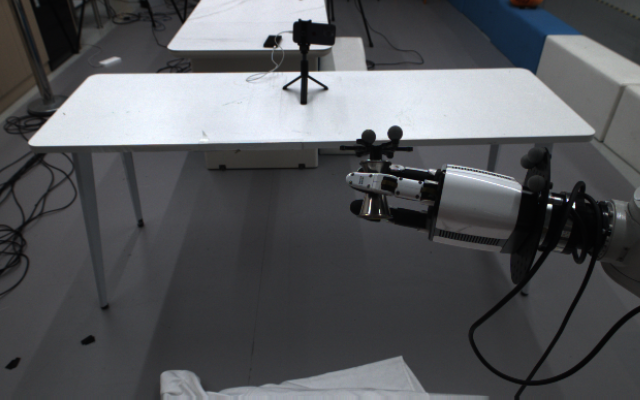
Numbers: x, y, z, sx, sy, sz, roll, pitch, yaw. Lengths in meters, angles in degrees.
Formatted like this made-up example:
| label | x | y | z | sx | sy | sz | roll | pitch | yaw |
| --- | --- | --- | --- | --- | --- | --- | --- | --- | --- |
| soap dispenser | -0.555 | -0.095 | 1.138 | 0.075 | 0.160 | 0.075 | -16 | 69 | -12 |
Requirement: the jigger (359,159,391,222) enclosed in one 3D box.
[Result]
| label | x | y | z | sx | sy | sz | roll | pitch | yaw |
| --- | --- | --- | --- | --- | --- | --- | --- | --- | --- |
| jigger | 0.066 | -0.013 | 0.593 | 0.043 | 0.071 | 0.043 | 2 | -6 | 0 |
